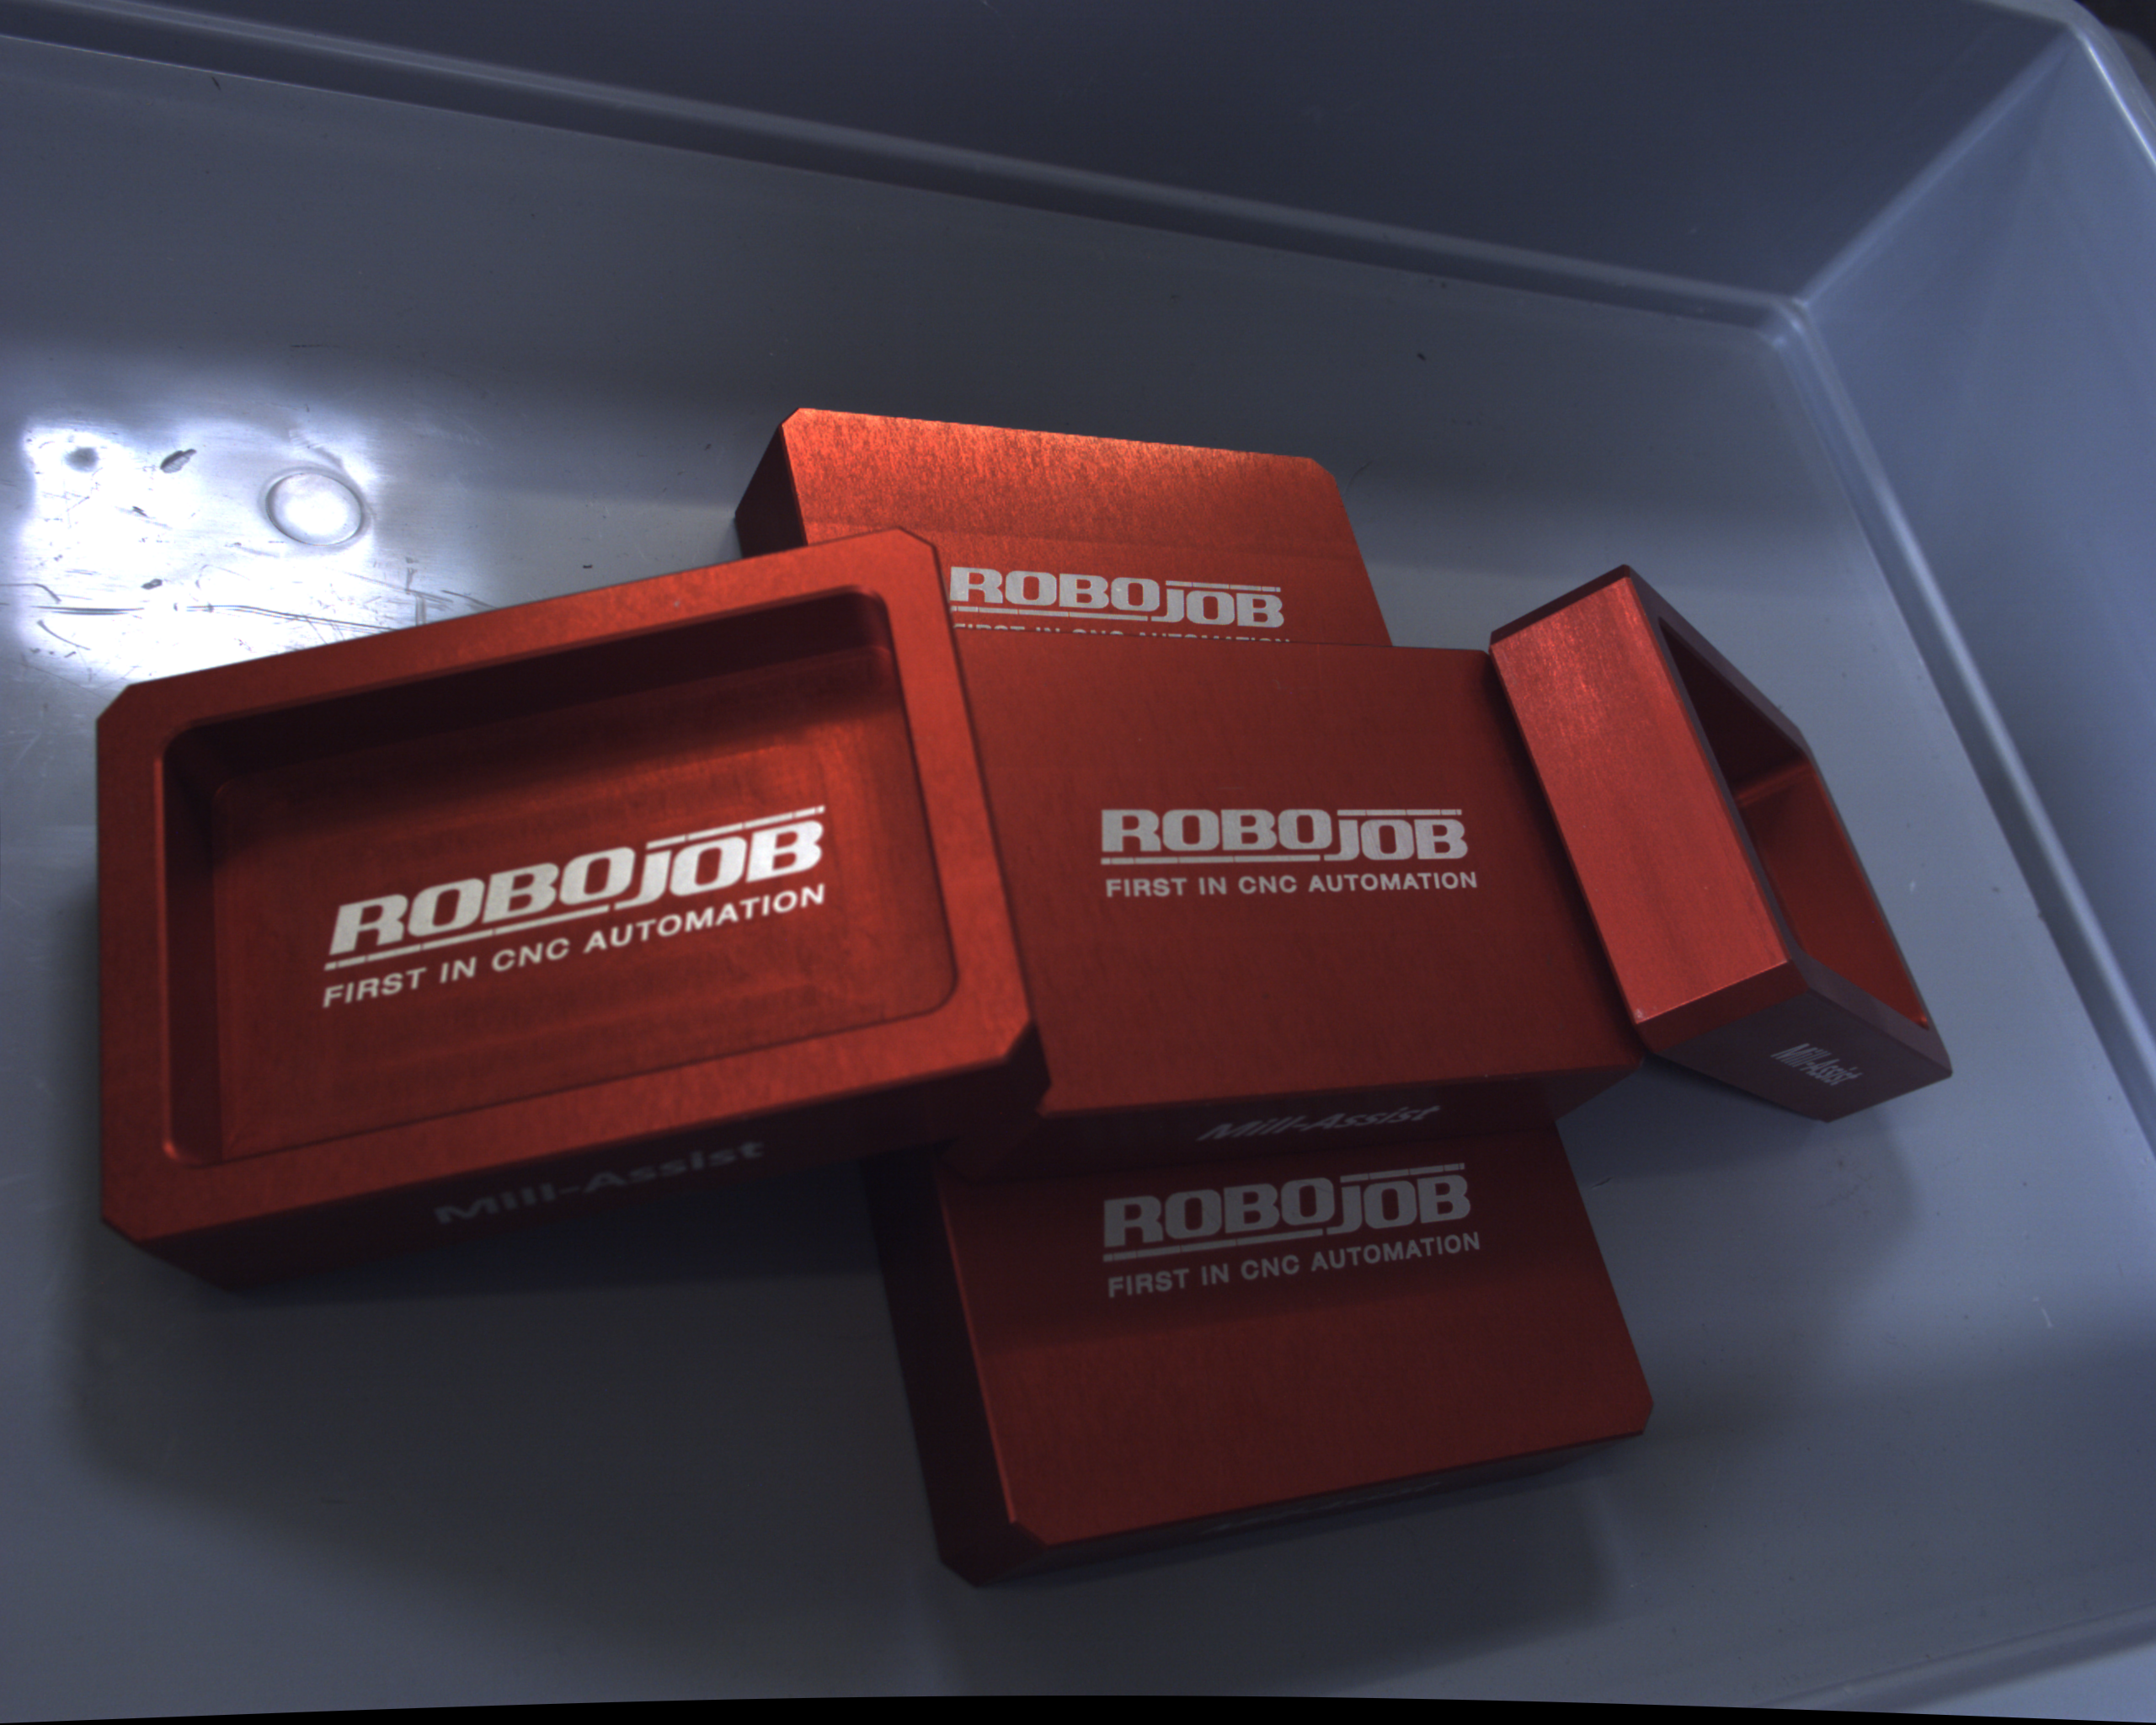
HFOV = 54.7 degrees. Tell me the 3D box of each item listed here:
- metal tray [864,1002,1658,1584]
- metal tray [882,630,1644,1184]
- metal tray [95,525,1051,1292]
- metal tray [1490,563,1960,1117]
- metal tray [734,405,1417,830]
[{"bbox_3d":[0.033,0.070,0.373,0.131,0.030,0.090,0,62,-29],"label":"metal tray"},{"bbox_3d":[0.031,0.005,0.375,0.131,0.030,0.090,-1,62,-29],"label":"metal tray"},{"bbox_3d":[-0.077,0.006,0.316,0.131,0.030,0.090,-12,66,-2],"label":"metal tray"},{"bbox_3d":[0.137,0.000,0.434,0.131,0.030,0.090,20,49,-54],"label":"metal tray"},{"bbox_3d":[0.003,-0.043,0.427,0.131,0.030,0.090,0,62,-29],"label":"metal tray"}]
